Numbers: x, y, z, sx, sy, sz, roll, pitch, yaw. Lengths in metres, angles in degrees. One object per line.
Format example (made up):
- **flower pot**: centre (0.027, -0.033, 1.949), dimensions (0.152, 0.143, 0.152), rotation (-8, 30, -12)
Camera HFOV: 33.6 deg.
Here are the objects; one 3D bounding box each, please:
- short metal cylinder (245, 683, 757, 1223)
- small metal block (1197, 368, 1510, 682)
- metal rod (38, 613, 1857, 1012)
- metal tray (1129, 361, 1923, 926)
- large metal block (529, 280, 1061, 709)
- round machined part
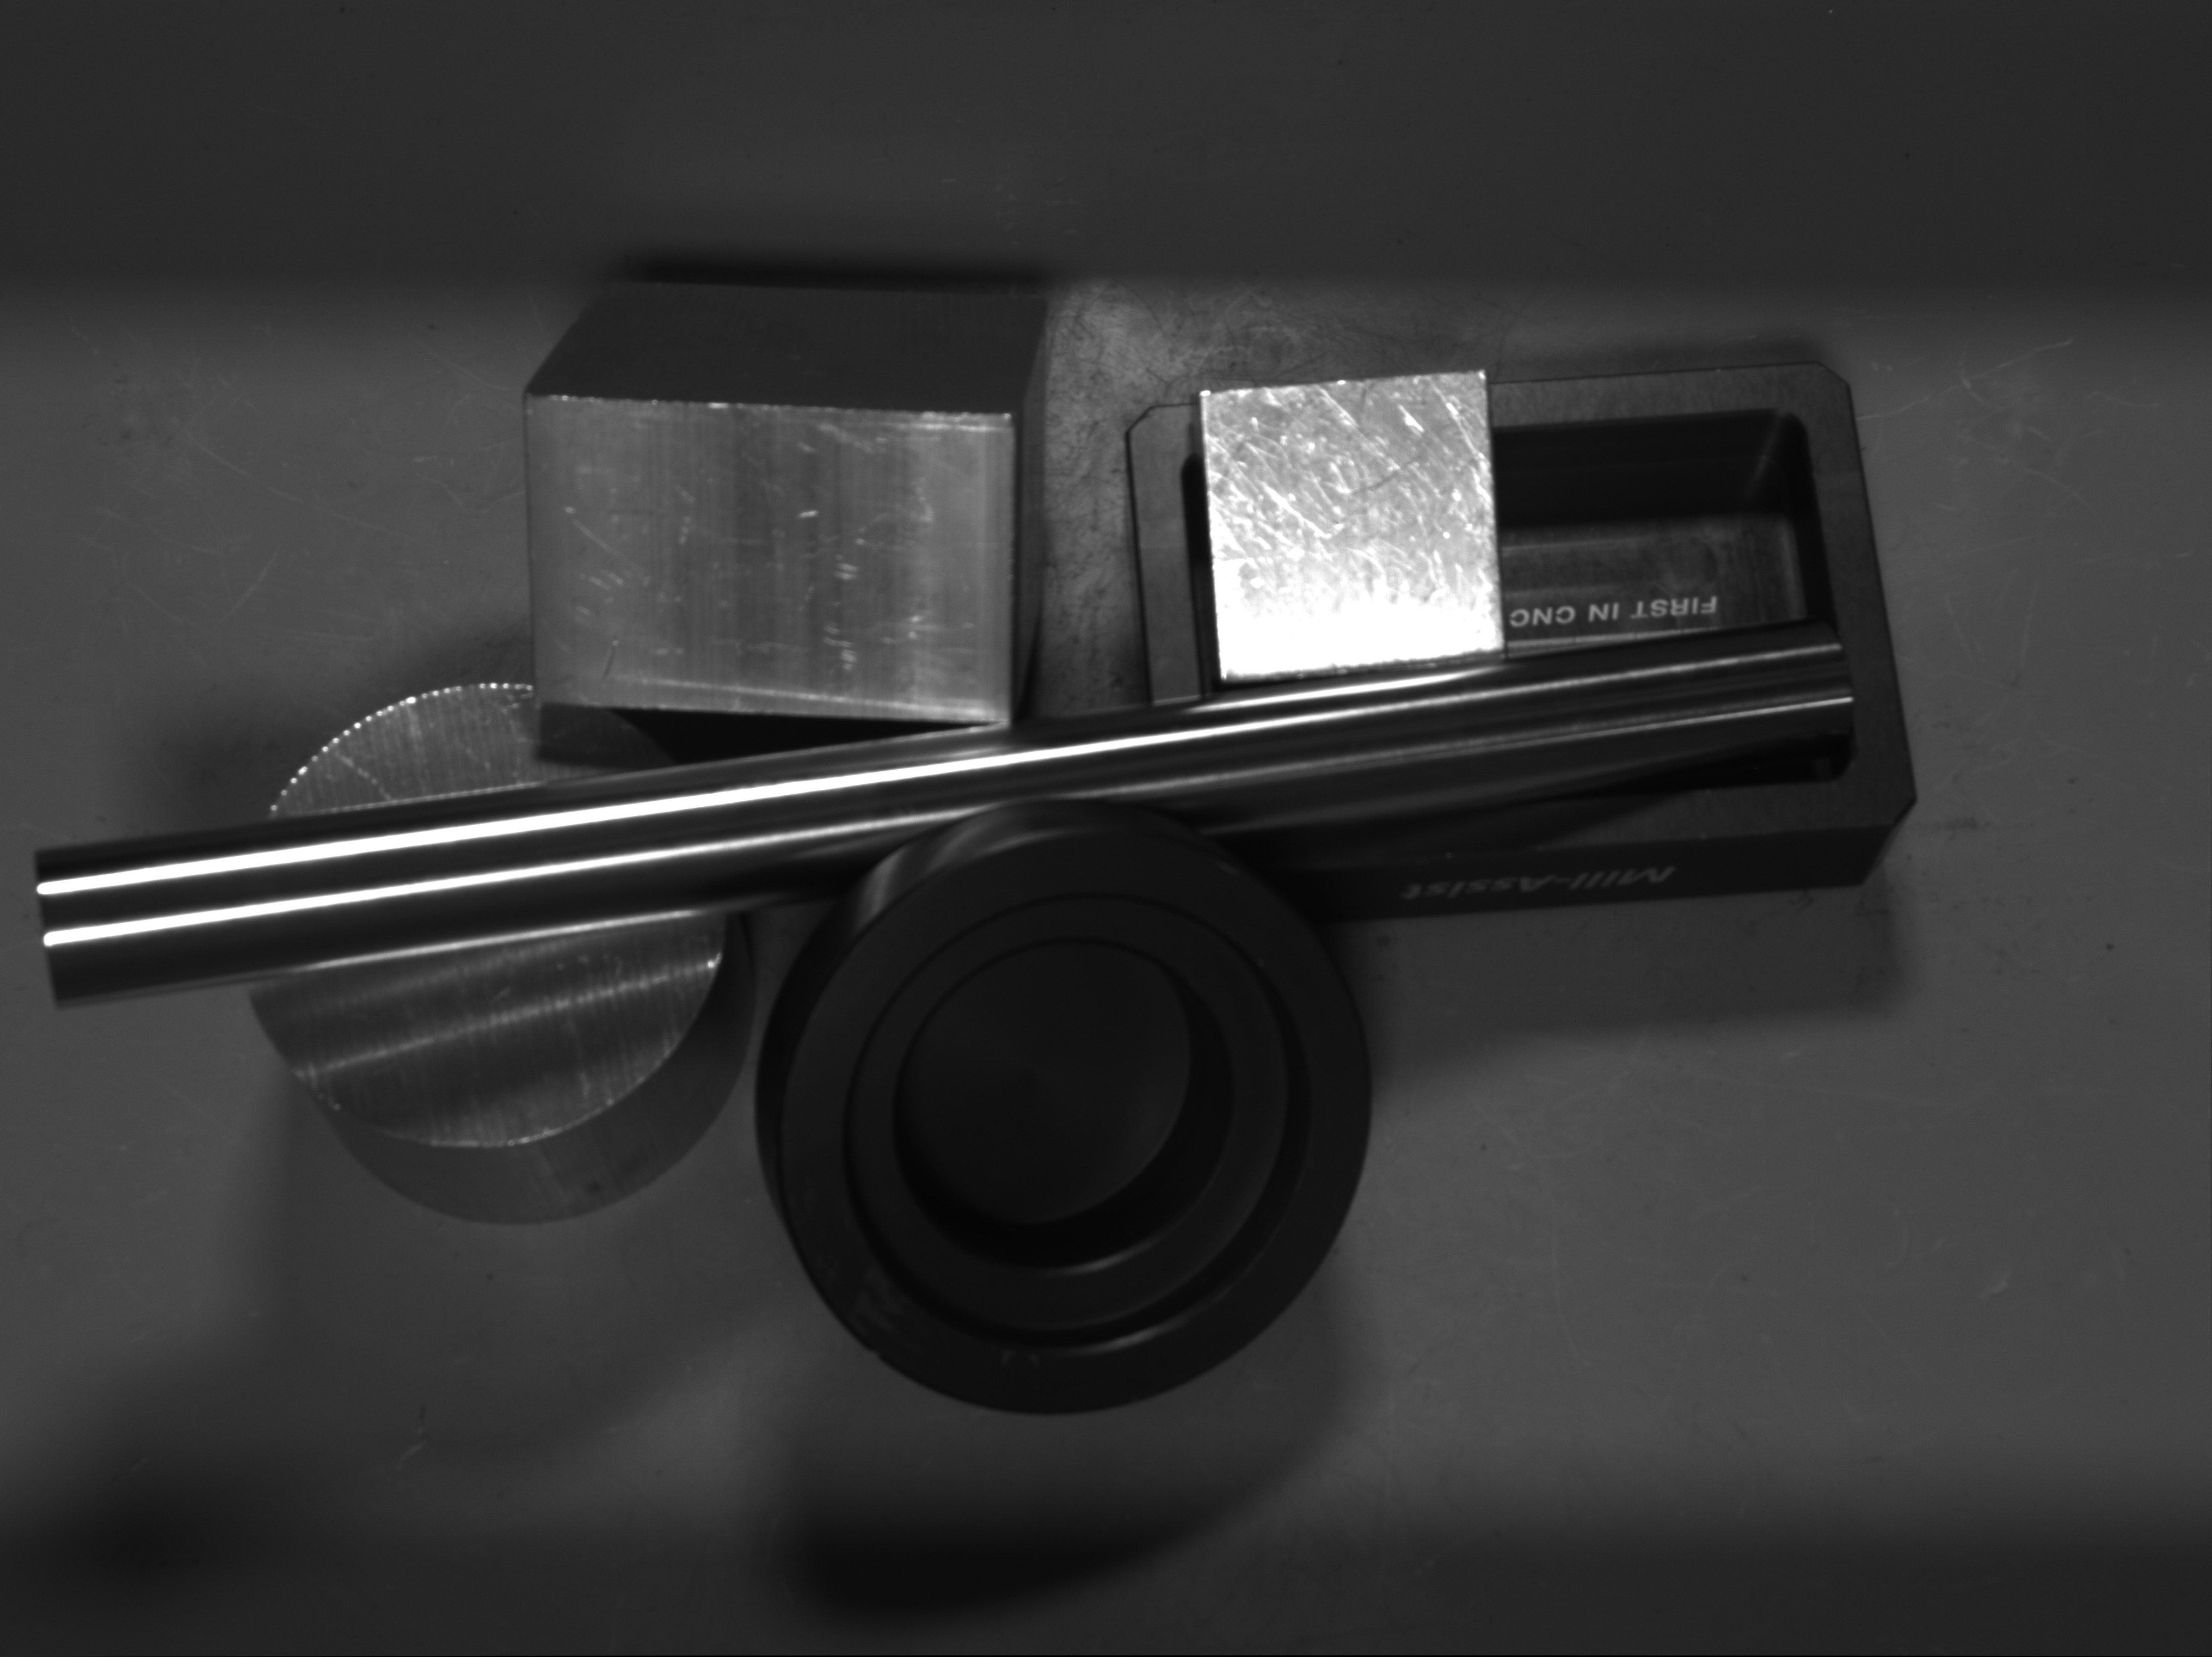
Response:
- **short metal cylinder**: centre (-0.102, 0.022, 0.621), dimensions (0.080, 0.050, 0.080), rotation (0, 70, 0)
- **small metal block**: centre (0.043, -0.053, 0.640), dimensions (0.050, 0.025, 0.050), rotation (-5, 96, -1)
- **metal rod**: centre (-0.019, -0.005, 0.601), dimensions (0.300, 0.025, 0.025), rotation (-8, 70, -15)
- **metal tray**: centre (0.072, -0.032, 0.652), dimensions (0.130, 0.030, 0.090), rotation (-4, 70, -2)
- **large metal block**: centre (-0.051, -0.059, 0.628), dimensions (0.080, 0.080, 0.050), rotation (2, 112, 2)
- **round machined part**: centre (-0.009, 0.043, 0.602), dimensions (0.098, 0.042, 0.098), rotation (-3, 103, -14)
